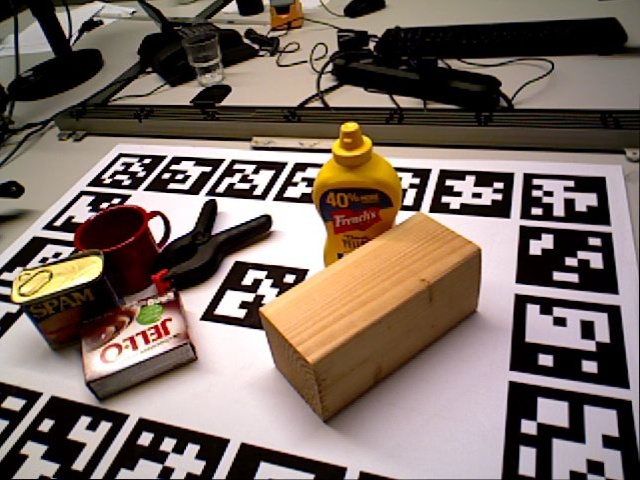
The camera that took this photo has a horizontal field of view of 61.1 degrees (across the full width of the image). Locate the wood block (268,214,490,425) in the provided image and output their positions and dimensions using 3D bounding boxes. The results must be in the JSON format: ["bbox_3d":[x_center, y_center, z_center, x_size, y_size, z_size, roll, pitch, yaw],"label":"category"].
[{"bbox_3d":[0.063,0.068,0.531,0.202,0.092,0.090,-30,42,-22],"label":"wood block"}]

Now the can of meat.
[{"bbox_3d":[-0.281,0.069,0.607,0.101,0.085,0.057,-16,42,-5],"label":"can of meat"}]

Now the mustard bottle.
[{"bbox_3d":[0.044,-0.045,0.576,0.096,0.195,0.057,1,43,14],"label":"mustard bottle"}]

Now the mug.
[{"bbox_3d":[-0.238,0.020,0.694,0.093,0.083,0.115,23,54,33],"label":"mug"}]

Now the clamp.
[{"bbox_3d":[-0.148,0.003,0.698,0.122,0.037,0.161,21,53,30],"label":"clamp"}]

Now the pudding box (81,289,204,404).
[{"bbox_3d":[-0.190,0.111,0.580,0.112,0.039,0.089,-22,43,-13],"label":"pudding box"}]
